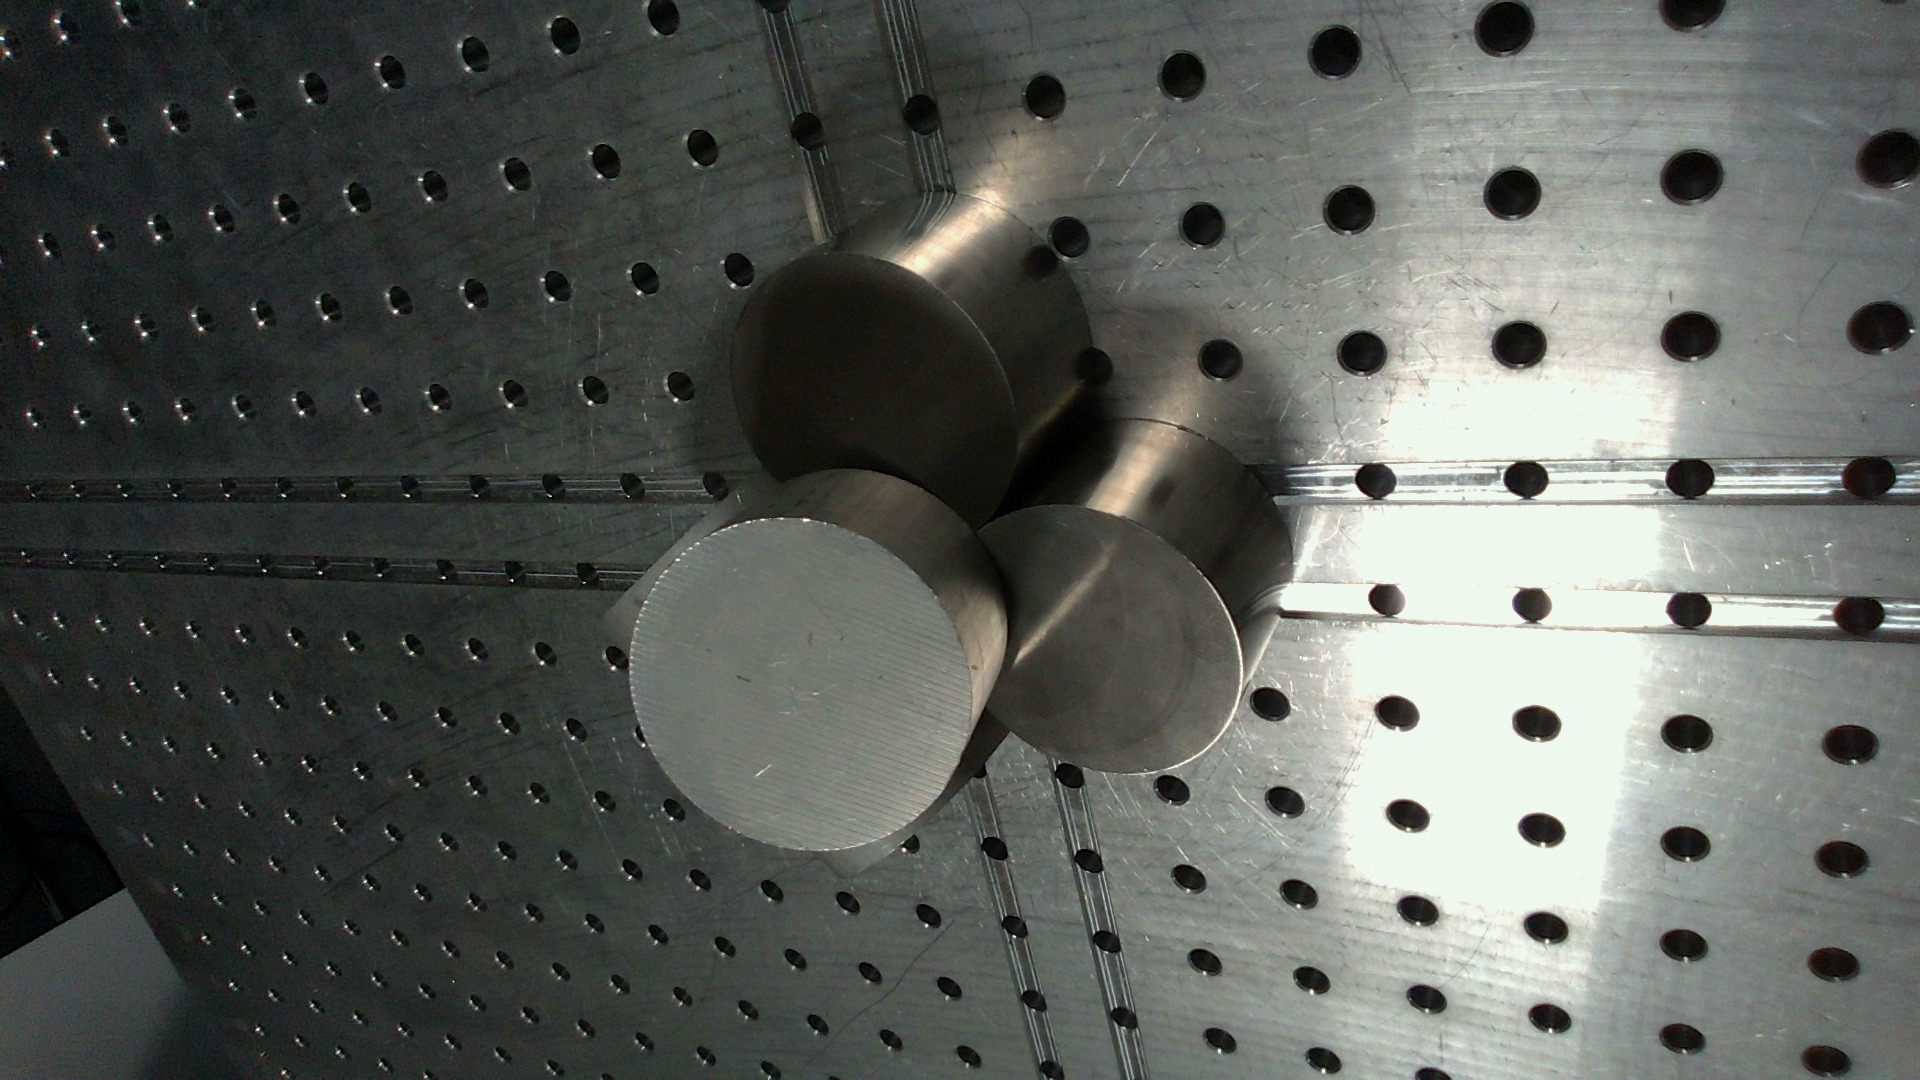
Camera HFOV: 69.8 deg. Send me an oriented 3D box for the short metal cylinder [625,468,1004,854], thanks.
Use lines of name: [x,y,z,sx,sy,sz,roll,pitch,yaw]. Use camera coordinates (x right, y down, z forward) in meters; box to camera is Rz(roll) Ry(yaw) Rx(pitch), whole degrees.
short metal cylinder: [-0.032,0.027,0.331,0.080,0.050,0.080,3,106,10]

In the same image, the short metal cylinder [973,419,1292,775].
short metal cylinder: [0.042,0.015,0.365,0.080,0.050,0.080,13,124,21]

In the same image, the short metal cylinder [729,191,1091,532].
short metal cylinder: [-0.012,-0.044,0.358,0.080,0.050,0.080,13,124,21]

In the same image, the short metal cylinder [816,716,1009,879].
short metal cylinder: [-0.025,0.053,0.406,0.050,0.080,0.080,47,129,-5]

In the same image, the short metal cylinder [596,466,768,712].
short metal cylinder: [-0.058,0.015,0.401,0.050,0.080,0.080,47,129,-5]
